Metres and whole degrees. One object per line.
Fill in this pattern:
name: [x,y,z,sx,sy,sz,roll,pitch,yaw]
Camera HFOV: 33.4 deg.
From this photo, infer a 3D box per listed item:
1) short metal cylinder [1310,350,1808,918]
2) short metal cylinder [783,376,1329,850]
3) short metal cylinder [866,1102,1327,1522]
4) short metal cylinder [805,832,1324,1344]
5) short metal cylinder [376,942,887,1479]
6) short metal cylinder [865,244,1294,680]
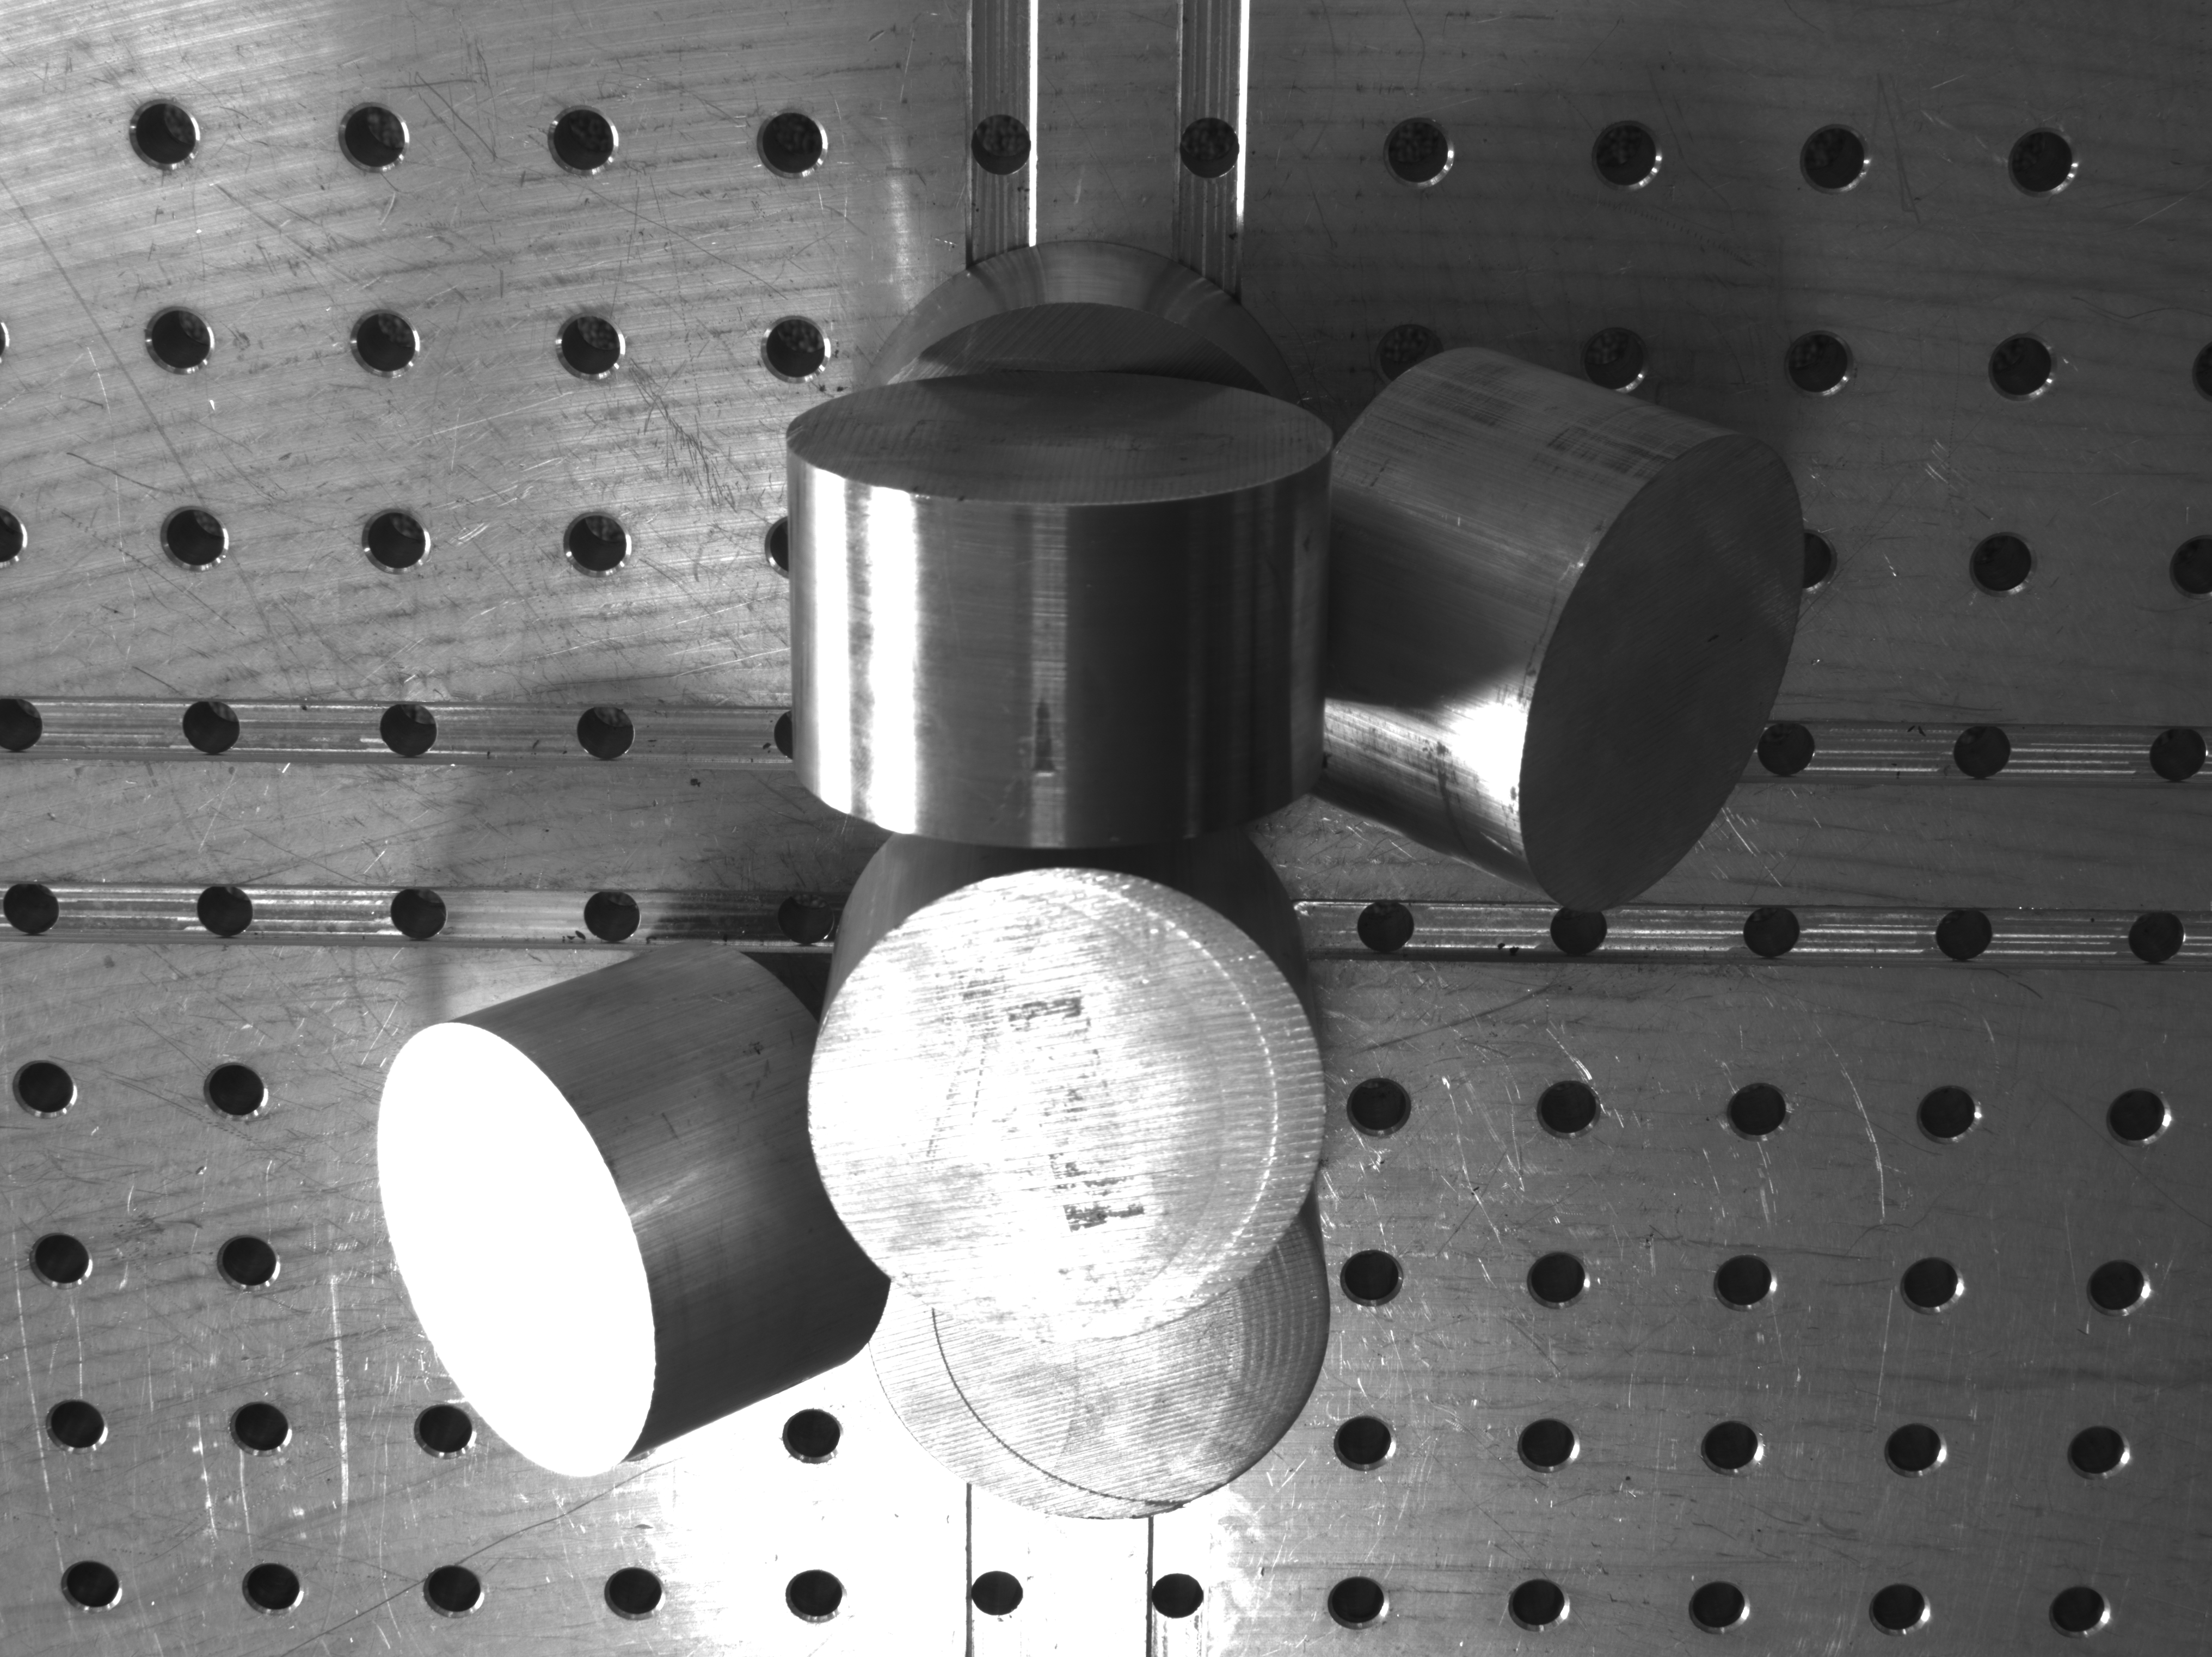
short metal cylinder: [0.070,-0.032,0.598,0.050,0.080,0.080,25,114,34]
short metal cylinder: [-0.007,-0.034,0.550,0.080,0.080,0.050,0,110,0]
short metal cylinder: [-0.002,0.076,0.660,0.080,0.050,0.080,0,111,0]
short metal cylinder: [-0.006,0.035,0.592,0.080,0.050,0.080,0,110,0]
short metal cylinder: [-0.082,0.065,0.635,0.050,0.080,0.080,-20,116,-40]
short metal cylinder: [-0.005,-0.053,0.614,0.080,0.050,0.080,0,110,0]
